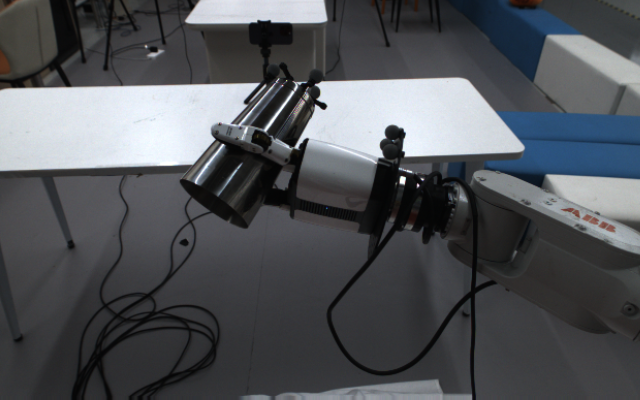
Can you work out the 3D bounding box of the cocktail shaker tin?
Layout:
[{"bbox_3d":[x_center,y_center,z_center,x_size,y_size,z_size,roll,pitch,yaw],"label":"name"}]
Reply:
[{"bbox_3d":[-0.078,-0.064,0.573,0.093,0.093,0.170,22,67,26],"label":"cocktail shaker tin"}]
